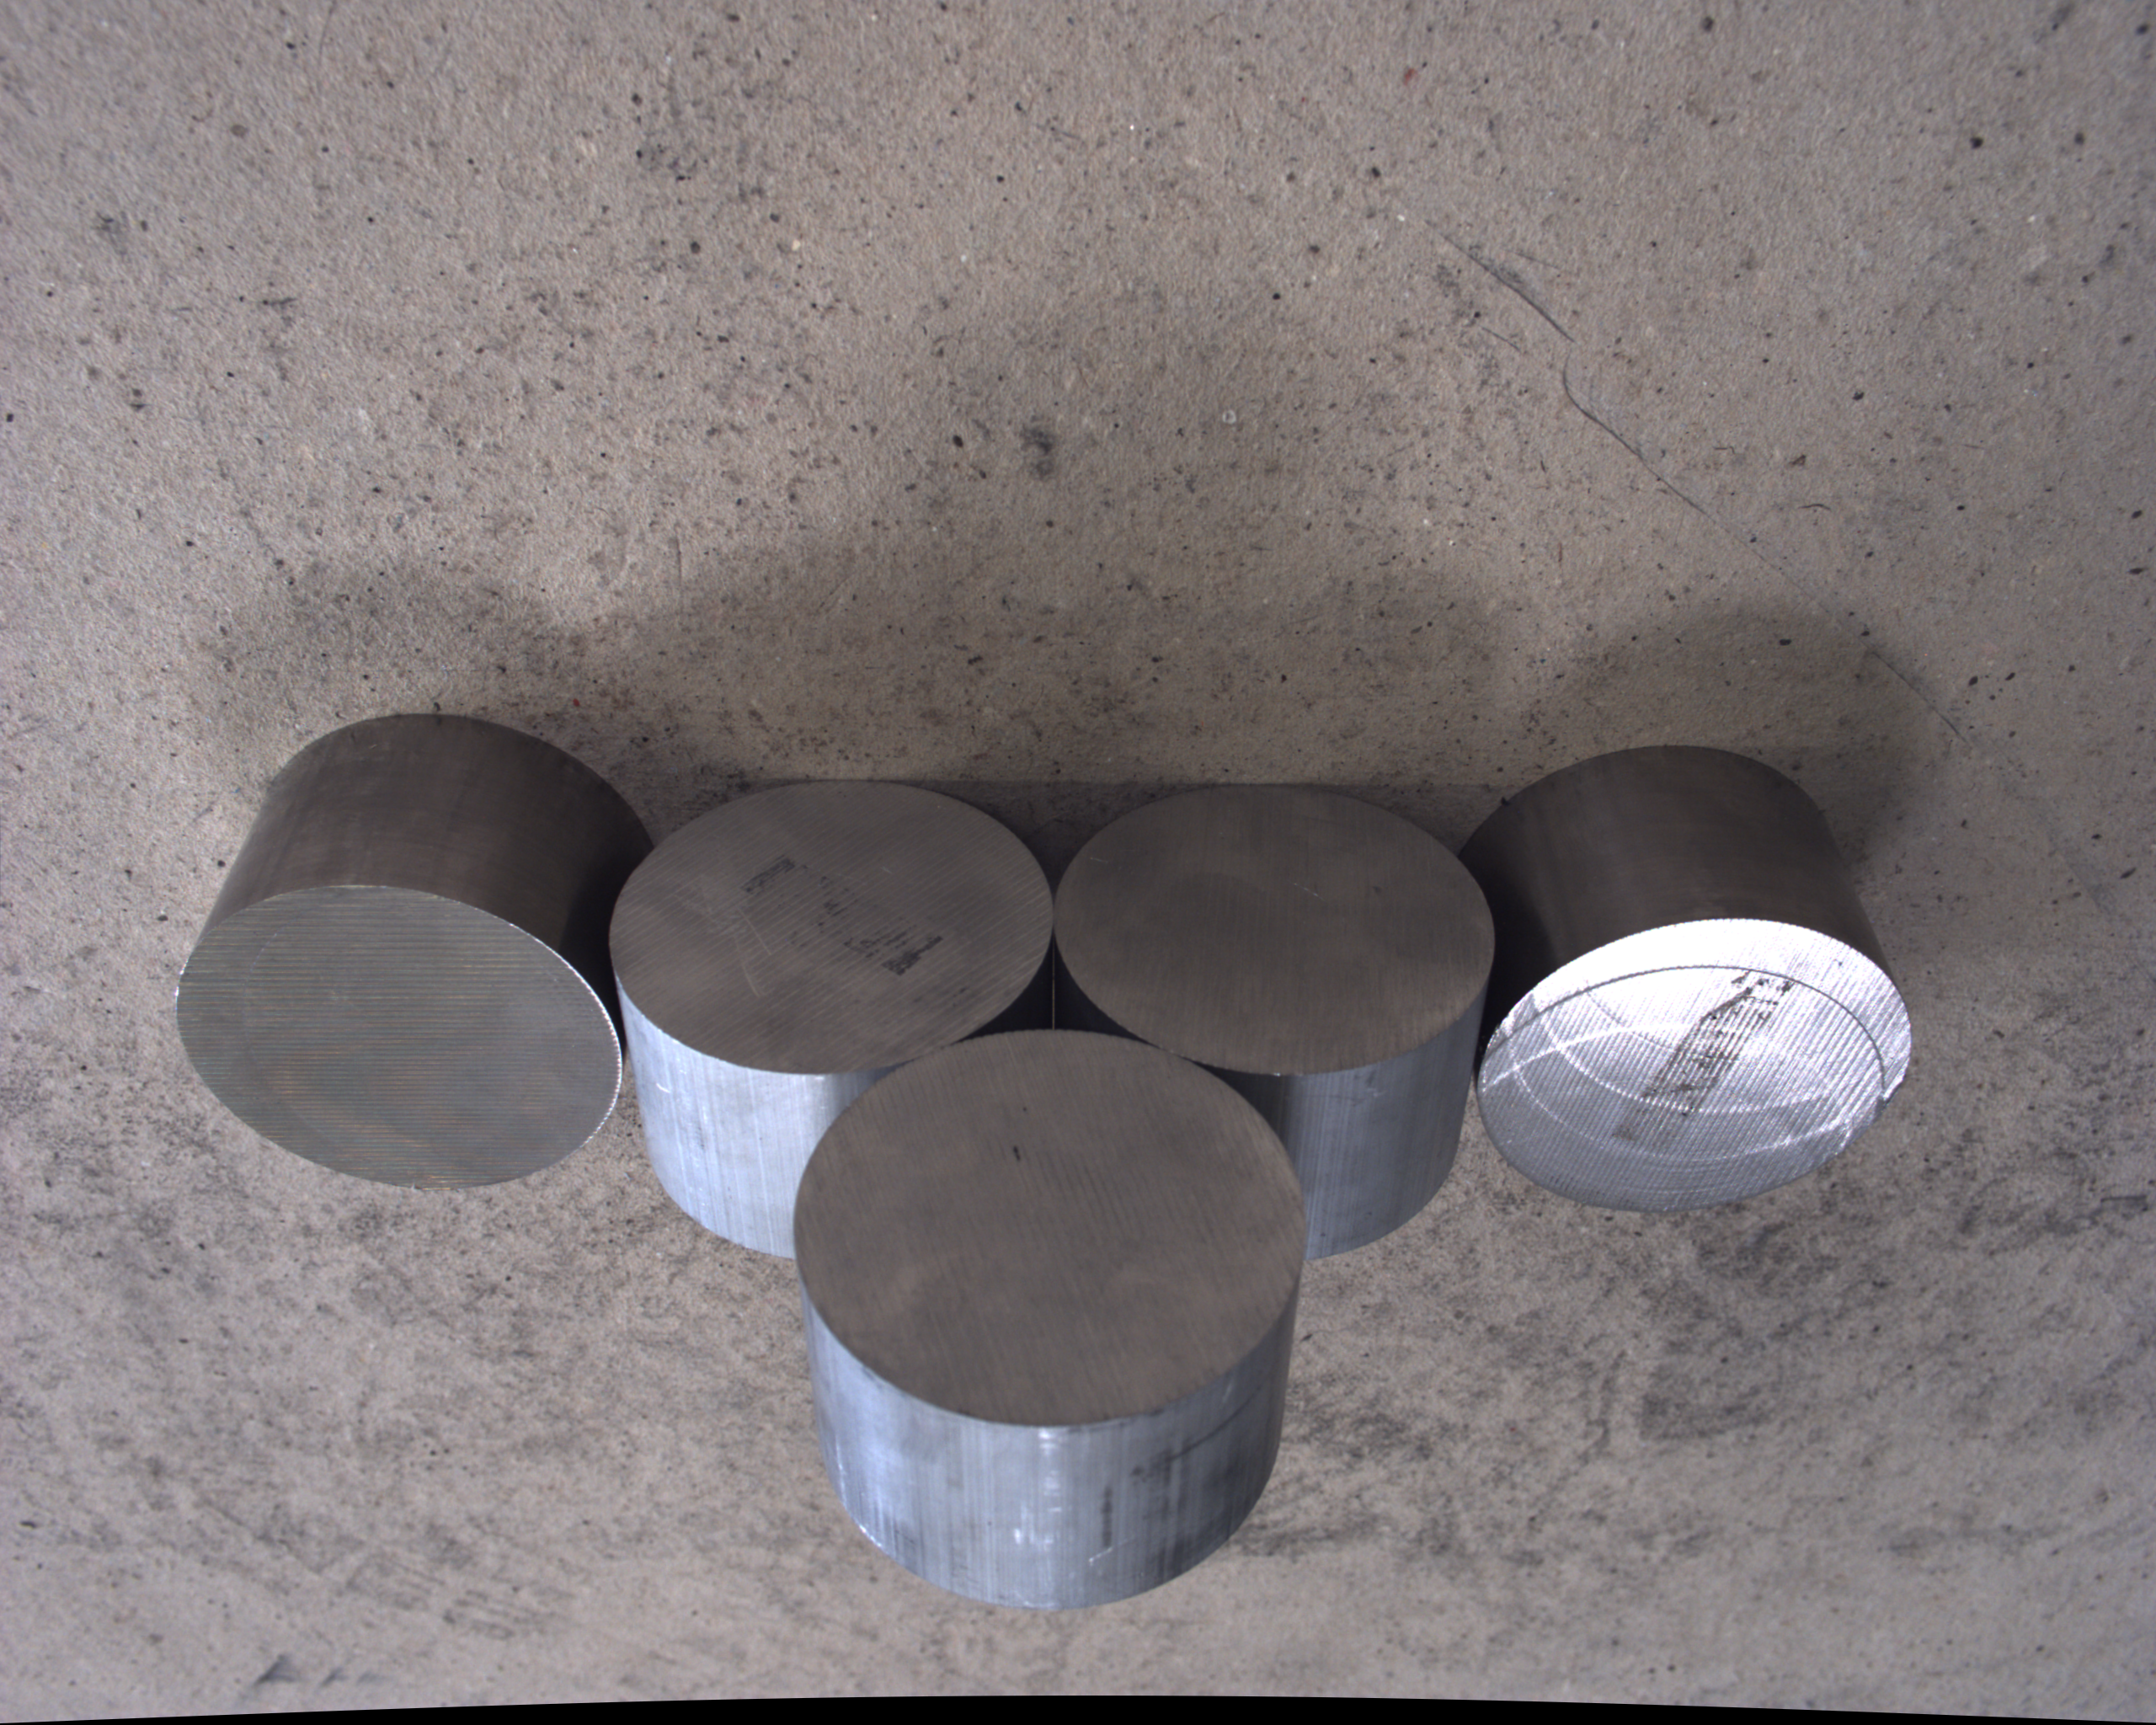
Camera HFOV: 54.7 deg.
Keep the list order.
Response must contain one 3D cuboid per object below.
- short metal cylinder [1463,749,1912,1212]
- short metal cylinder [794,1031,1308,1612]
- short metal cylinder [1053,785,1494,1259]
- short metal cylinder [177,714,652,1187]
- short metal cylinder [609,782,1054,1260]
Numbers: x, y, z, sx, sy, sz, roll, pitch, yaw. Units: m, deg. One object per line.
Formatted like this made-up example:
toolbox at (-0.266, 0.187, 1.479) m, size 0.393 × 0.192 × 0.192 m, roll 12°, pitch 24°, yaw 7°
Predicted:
short metal cylinder at (0.116, 0.024, 0.413) m, size 0.081 × 0.050 × 0.079 m, roll -1°, pitch 131°, yaw 0°
short metal cylinder at (-0.004, 0.074, 0.344) m, size 0.081 × 0.080 × 0.050 m, roll 1°, pitch 131°, yaw -1°
short metal cylinder at (0.036, 0.029, 0.398) m, size 0.081 × 0.080 × 0.050 m, roll 0°, pitch 129°, yaw 0°
short metal cylinder at (-0.125, 0.018, 0.406) m, size 0.081 × 0.050 × 0.079 m, roll -1°, pitch 130°, yaw 0°
short metal cylinder at (-0.045, 0.029, 0.397) m, size 0.081 × 0.080 × 0.050 m, roll 0°, pitch 130°, yaw 0°
